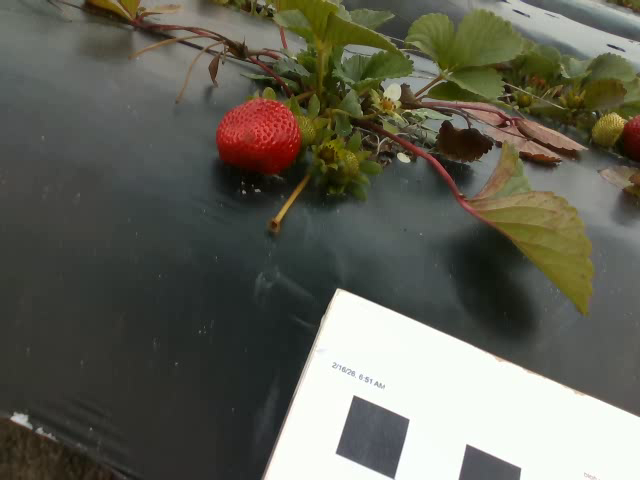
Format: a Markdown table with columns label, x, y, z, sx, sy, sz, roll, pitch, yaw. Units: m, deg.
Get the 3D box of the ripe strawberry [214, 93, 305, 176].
| label | x | y | z | sx | sy | sz | roll | pitch | yaw |
| --- | --- | --- | --- | --- | --- | --- | --- | --- | --- |
| ripe strawberry | -0.009 | -0.015 | 0.086 | 0.018 | 0.014 | 0.017 | 32 | 17 | -2 |
